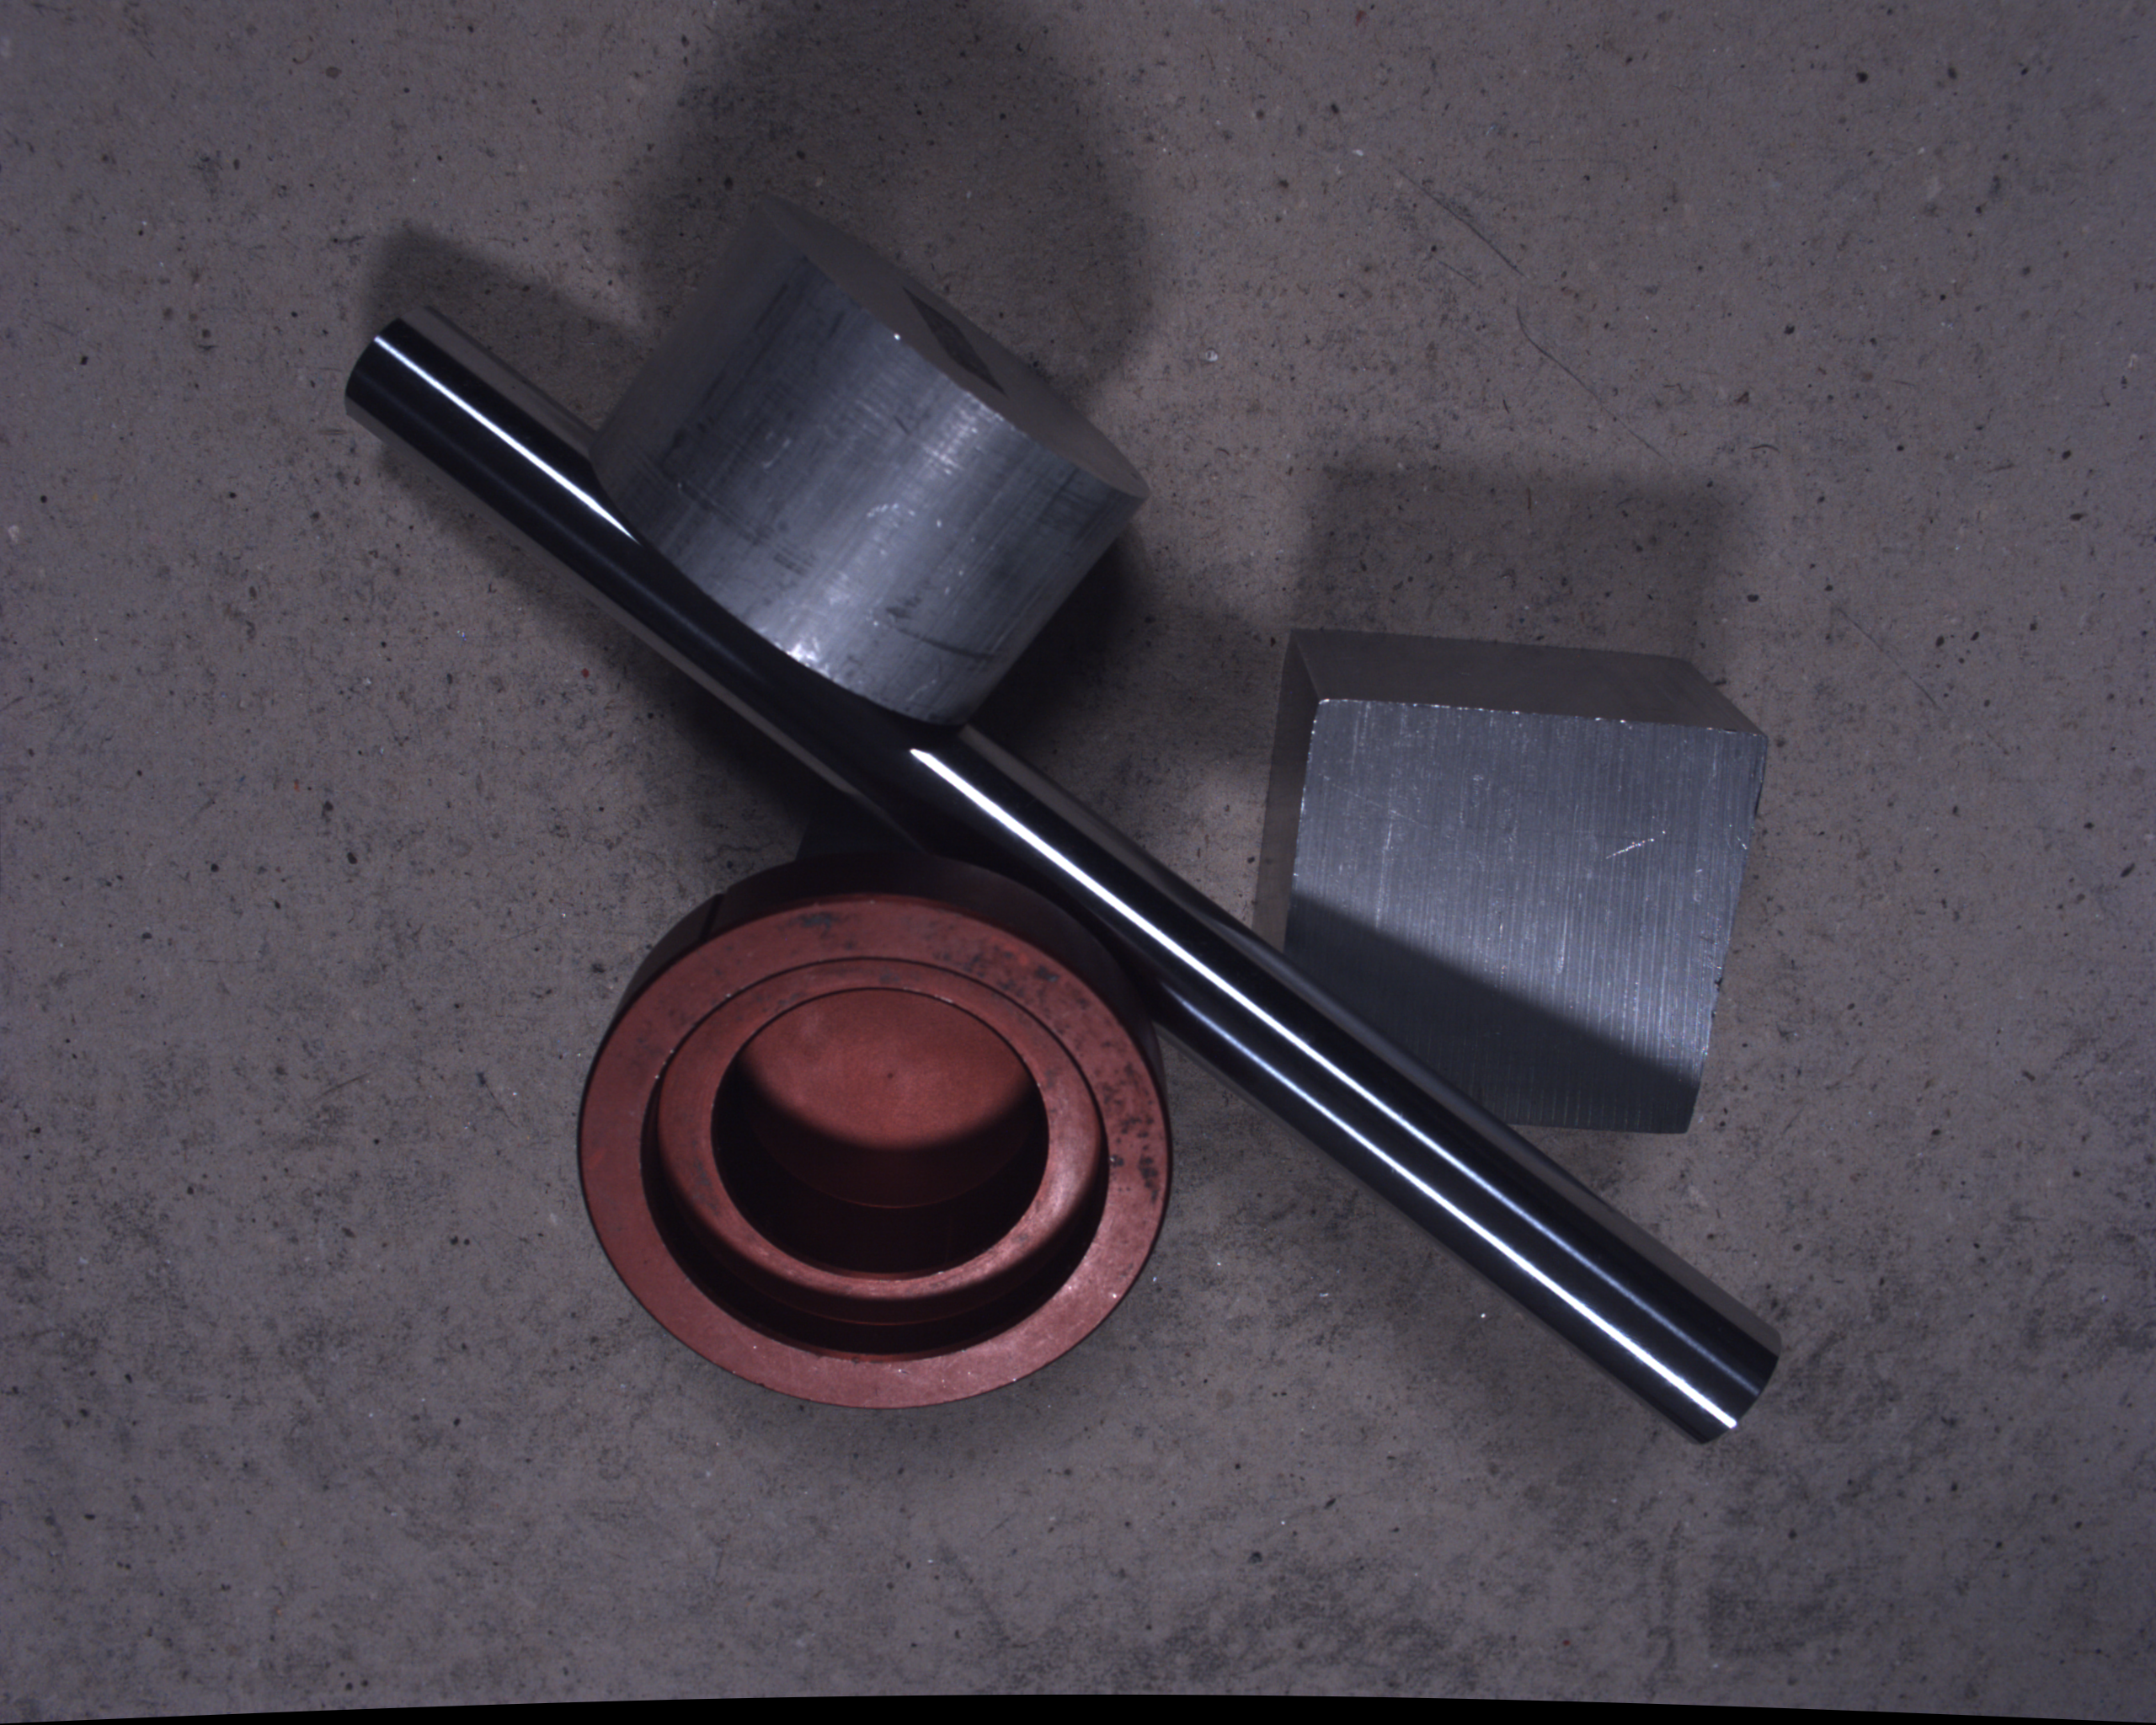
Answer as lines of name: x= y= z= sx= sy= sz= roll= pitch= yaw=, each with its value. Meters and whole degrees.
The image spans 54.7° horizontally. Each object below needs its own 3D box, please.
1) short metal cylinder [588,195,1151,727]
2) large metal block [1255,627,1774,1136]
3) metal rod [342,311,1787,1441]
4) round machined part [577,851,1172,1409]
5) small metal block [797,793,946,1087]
short metal cylinder: x=-0.035 y=-0.068 z=0.356 sx=0.080 sy=0.080 sz=0.050 roll=36 pitch=106 yaw=-13
large metal block: x=0.078 y=0.003 z=0.400 sx=0.081 sy=0.050 sz=0.079 roll=4 pitch=110 yaw=-2
metal rod: x=-0.004 y=0.001 z=0.372 sx=0.301 sy=0.025 sz=0.025 roll=37 pitch=106 yaw=2
round machined part: x=-0.034 y=0.043 z=0.365 sx=0.099 sy=0.042 sz=0.097 roll=0 pitch=112 yaw=-1
small metal block: x=-0.038 y=0.016 z=0.404 sx=0.025 sy=0.050 sz=0.050 roll=-2 pitch=110 yaw=0
